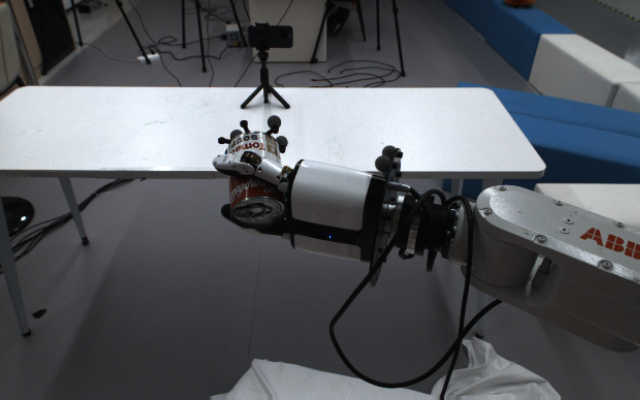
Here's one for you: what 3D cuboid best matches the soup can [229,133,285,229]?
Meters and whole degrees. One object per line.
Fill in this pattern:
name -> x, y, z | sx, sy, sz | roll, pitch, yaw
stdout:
soup can -> -0.077, -0.025, 0.592 | 0.067, 0.067, 0.101 | -5, 57, -10
